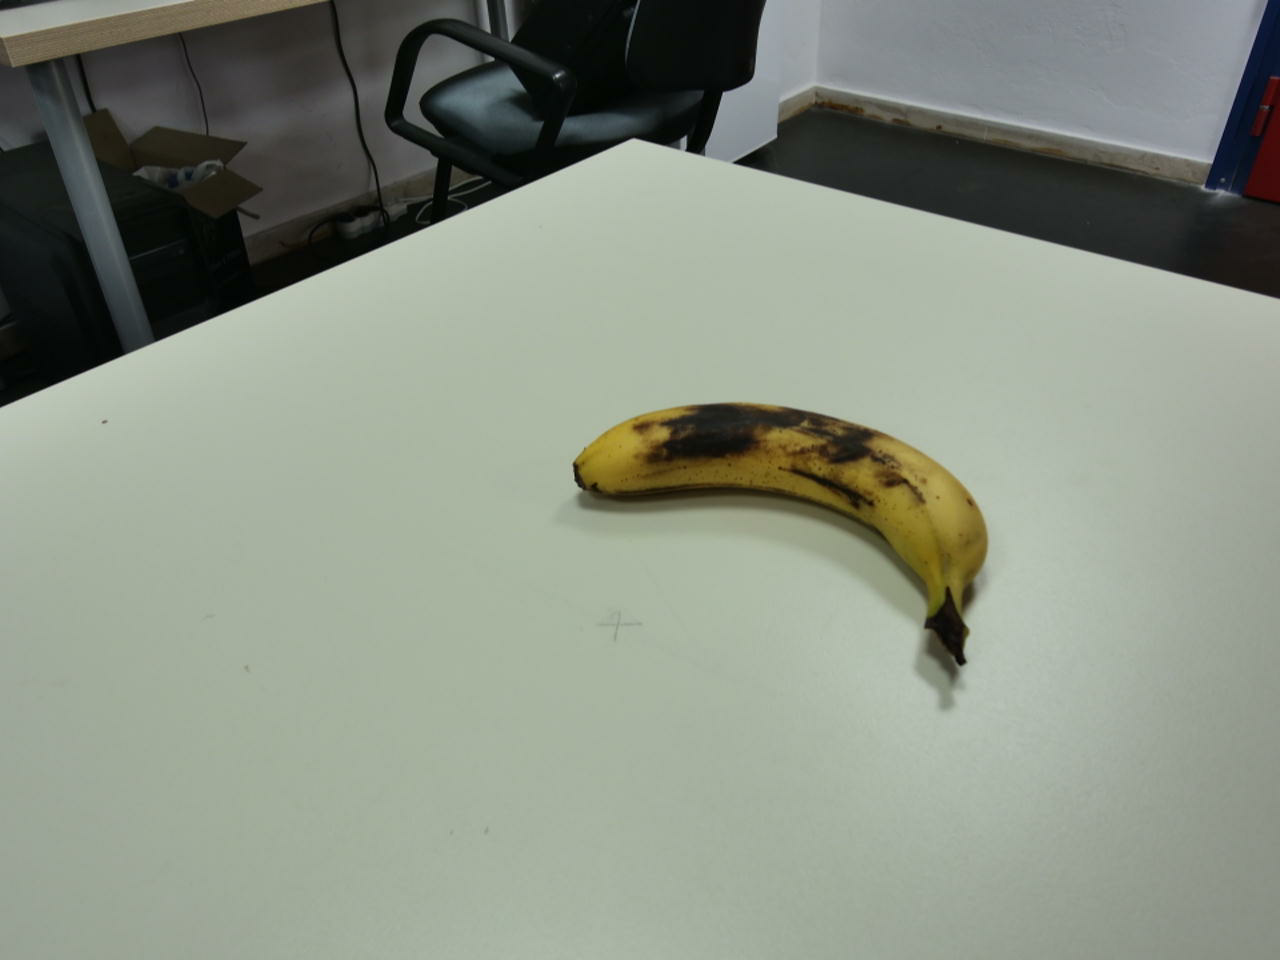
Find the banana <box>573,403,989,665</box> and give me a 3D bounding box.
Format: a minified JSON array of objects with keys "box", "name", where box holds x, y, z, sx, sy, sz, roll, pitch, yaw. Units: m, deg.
[{"box":[0.068,0.004,0.426,0.187,0.039,0.094,25,43,31],"name":"banana"}]
